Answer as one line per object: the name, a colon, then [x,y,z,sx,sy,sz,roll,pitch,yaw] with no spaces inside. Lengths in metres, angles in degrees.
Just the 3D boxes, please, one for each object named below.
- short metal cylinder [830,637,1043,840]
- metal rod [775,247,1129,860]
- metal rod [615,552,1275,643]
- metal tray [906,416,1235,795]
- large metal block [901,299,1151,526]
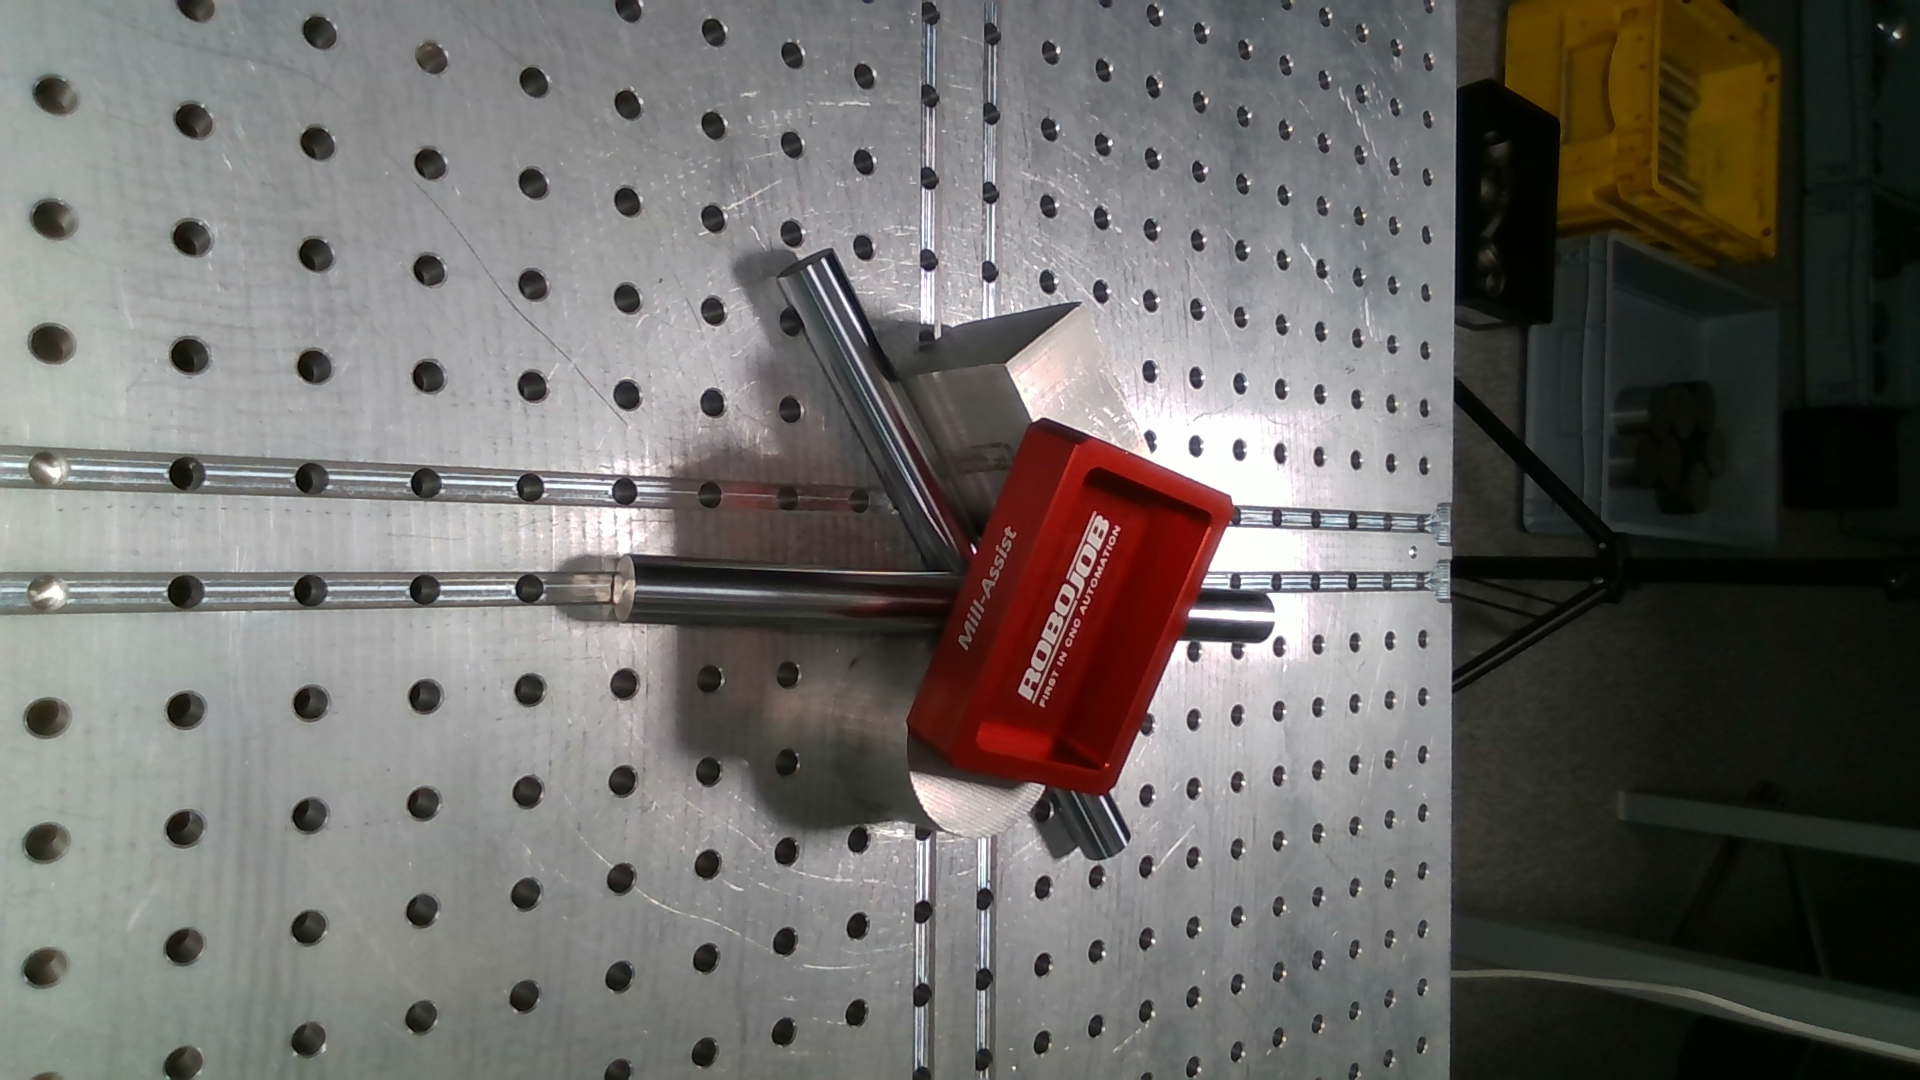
short metal cylinder: [-0.006,0.079,0.564,0.080,0.050,0.080,0,90,-40]
metal rod: [0.003,0.016,0.590,0.025,0.025,0.301,-42,115,-32]
metal rod: [0.010,0.026,0.565,0.300,0.025,0.025,4,87,-31]
metal tray: [0.044,0.028,0.528,0.090,0.030,0.130,18,97,-39]
large metal block: [0.024,-0.047,0.569,0.050,0.080,0.080,-42,115,-32]
